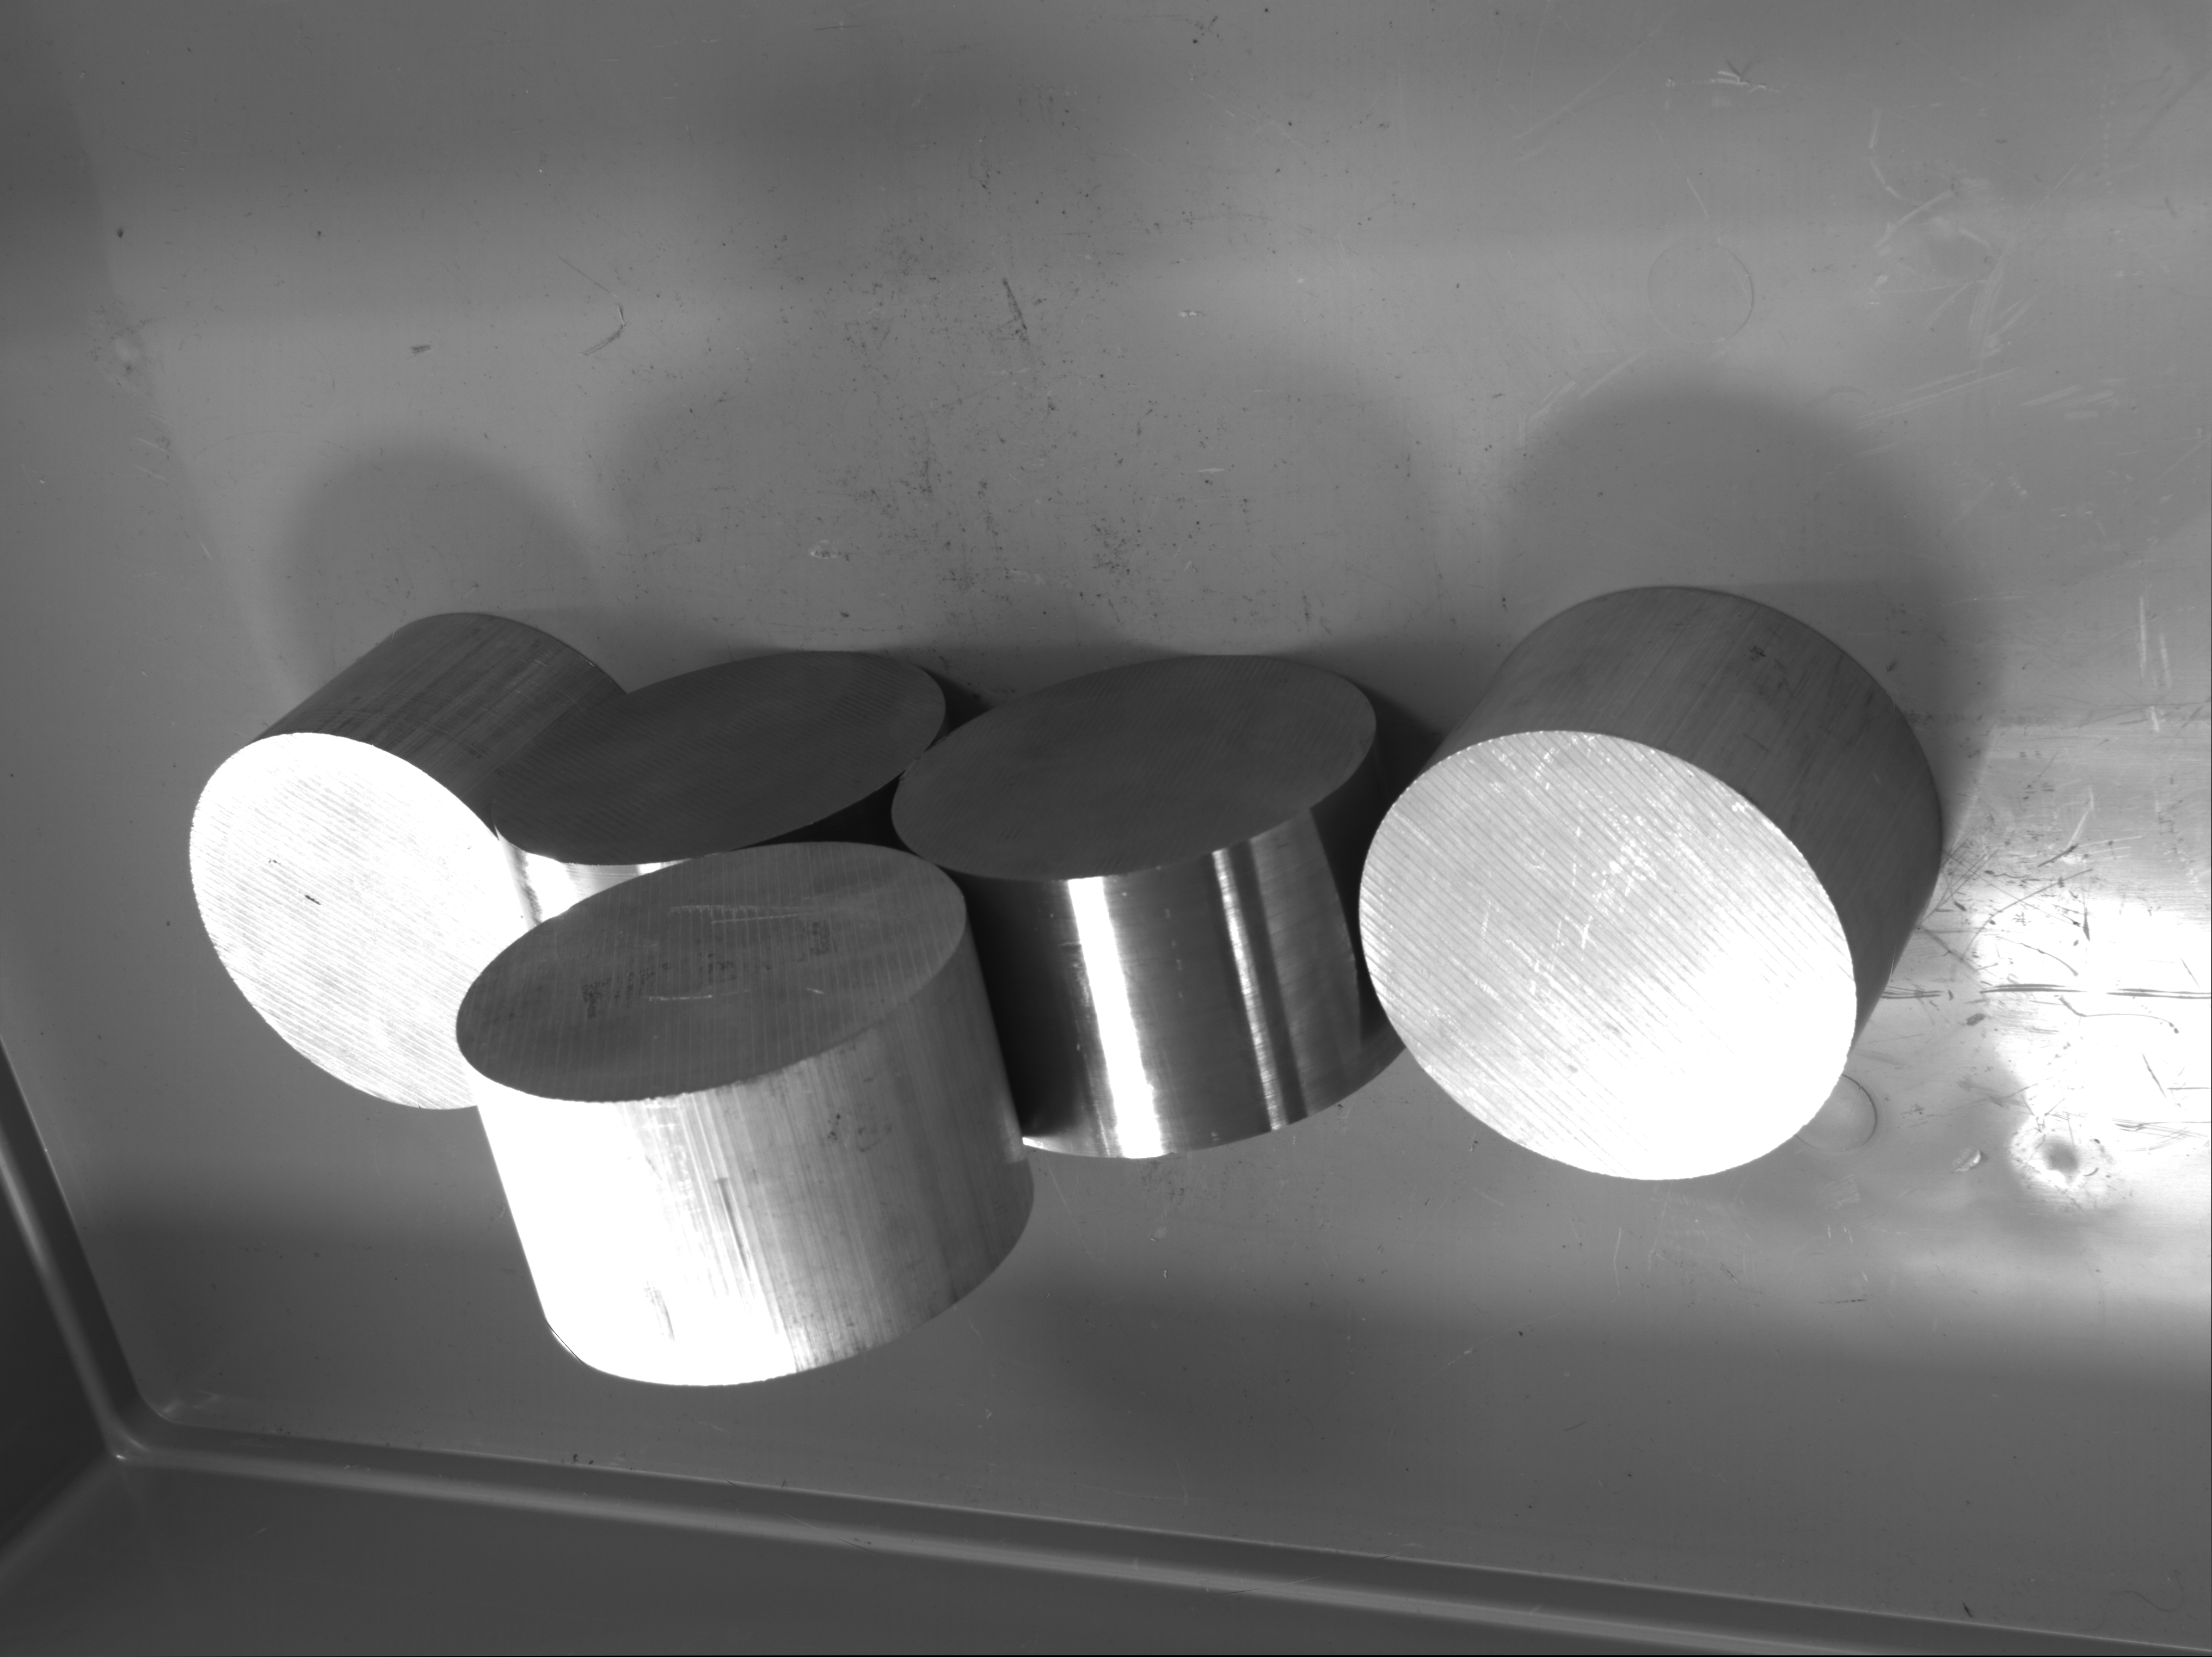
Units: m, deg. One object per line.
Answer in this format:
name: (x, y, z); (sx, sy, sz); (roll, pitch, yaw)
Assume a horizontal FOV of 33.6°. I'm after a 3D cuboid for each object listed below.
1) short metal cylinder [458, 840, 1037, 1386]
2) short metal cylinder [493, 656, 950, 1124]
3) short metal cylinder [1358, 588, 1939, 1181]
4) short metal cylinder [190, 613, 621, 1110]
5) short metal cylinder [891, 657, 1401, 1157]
short metal cylinder: (-0.055, 0.043, 0.572); (0.080, 0.080, 0.050); (2, 119, 28)
short metal cylinder: (-0.062, 0.010, 0.644); (0.080, 0.080, 0.050); (2, 119, 28)
short metal cylinder: (0.087, 0.009, 0.584); (0.080, 0.050, 0.080); (13, 124, 21)
short metal cylinder: (-0.125, 0.006, 0.695); (0.080, 0.050, 0.080); (13, 124, 21)
short metal cylinder: (0.009, 0.012, 0.607); (0.080, 0.080, 0.050); (2, 119, 28)
